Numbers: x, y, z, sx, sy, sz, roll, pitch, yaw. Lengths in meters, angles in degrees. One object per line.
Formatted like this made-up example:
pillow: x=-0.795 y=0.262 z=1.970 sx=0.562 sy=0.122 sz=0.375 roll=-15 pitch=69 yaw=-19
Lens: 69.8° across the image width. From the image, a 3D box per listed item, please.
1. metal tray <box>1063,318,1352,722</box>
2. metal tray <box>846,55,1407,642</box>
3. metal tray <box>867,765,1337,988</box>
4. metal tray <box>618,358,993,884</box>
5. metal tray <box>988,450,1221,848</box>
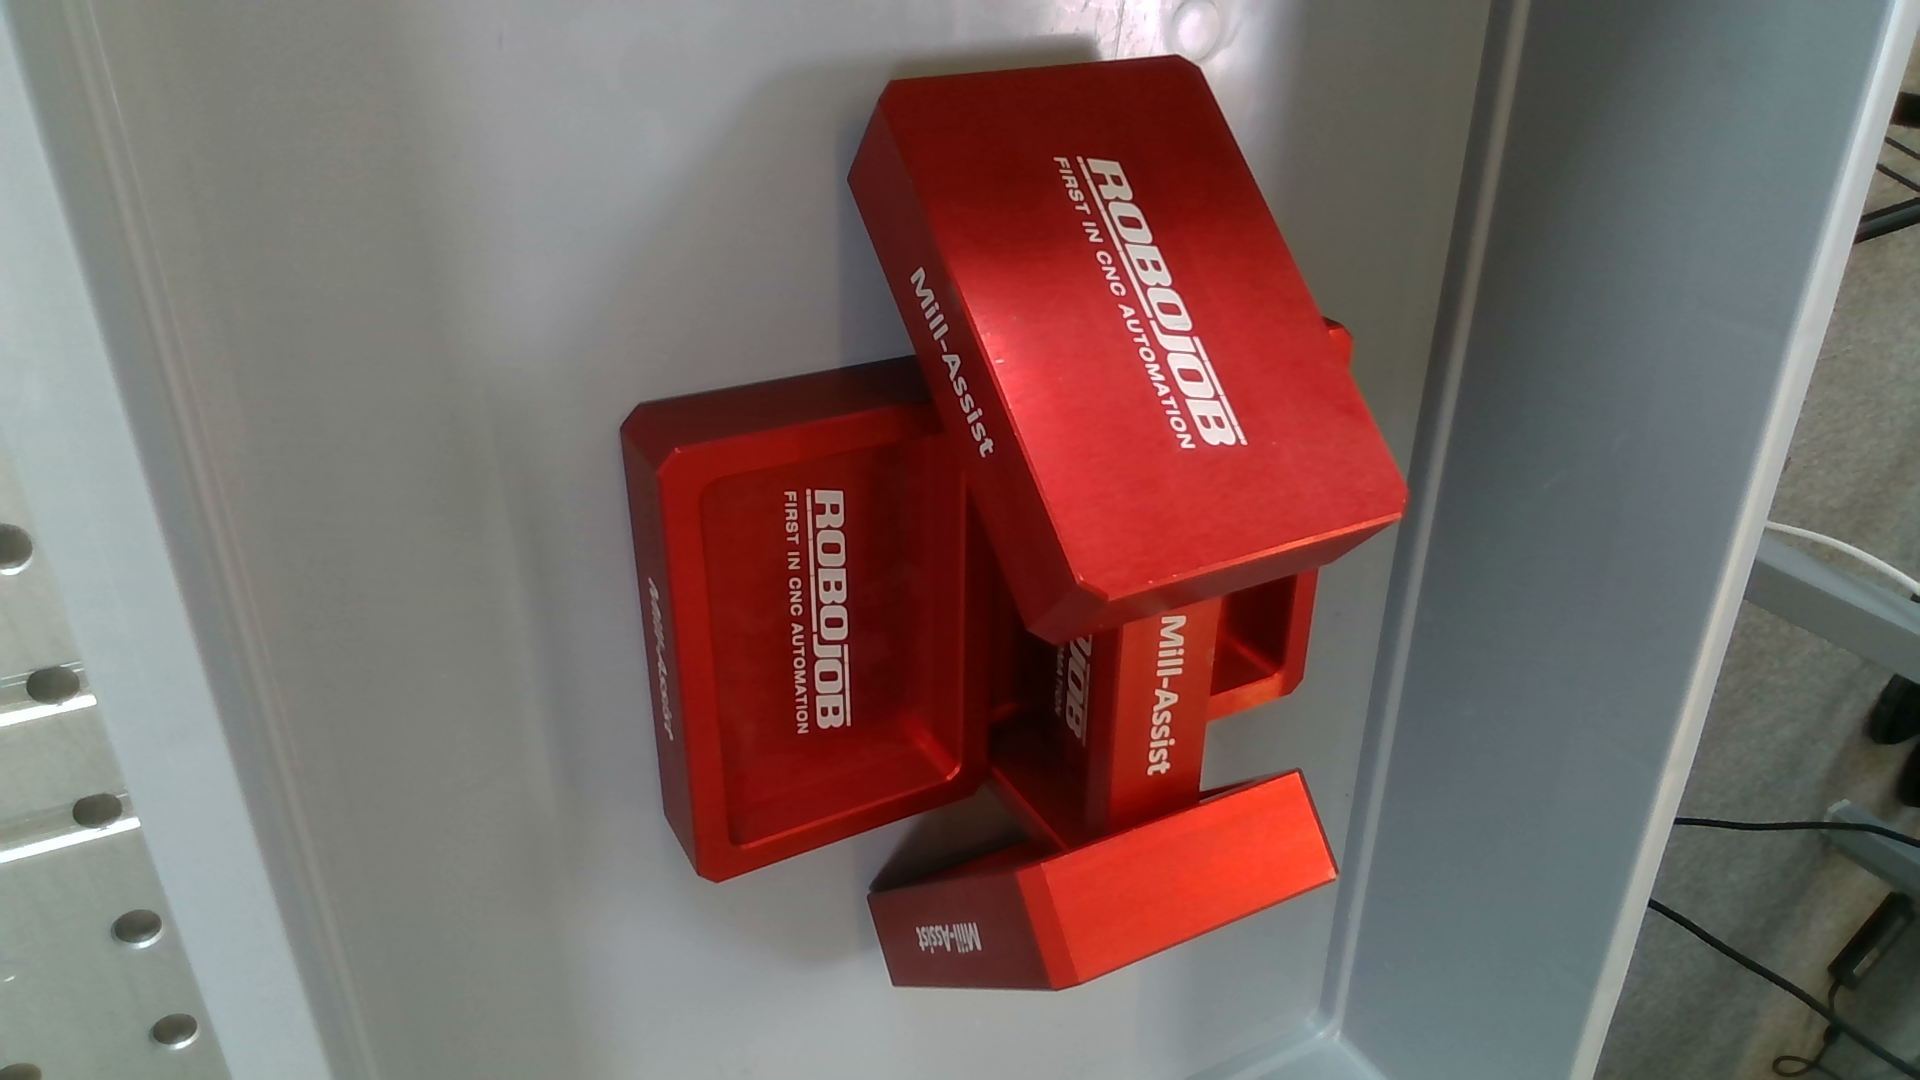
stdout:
metal tray: x=0.069 y=-0.003 z=0.425 sx=0.090 sy=0.030 sz=0.130 roll=-14 pitch=122 yaw=-24
metal tray: x=0.038 y=-0.050 z=0.326 sx=0.090 sy=0.130 sz=0.030 roll=-14 pitch=163 yaw=-25
metal tray: x=0.036 y=0.102 z=0.406 sx=0.090 sy=0.130 sz=0.030 roll=-14 pitch=79 yaw=-25
metal tray: x=-0.037 y=0.022 z=0.372 sx=0.090 sy=0.030 sz=0.130 roll=-14 pitch=122 yaw=-25
metal tray: x=0.029 y=0.019 z=0.375 sx=0.030 sy=0.090 sz=0.130 roll=-14 pitch=122 yaw=-25
